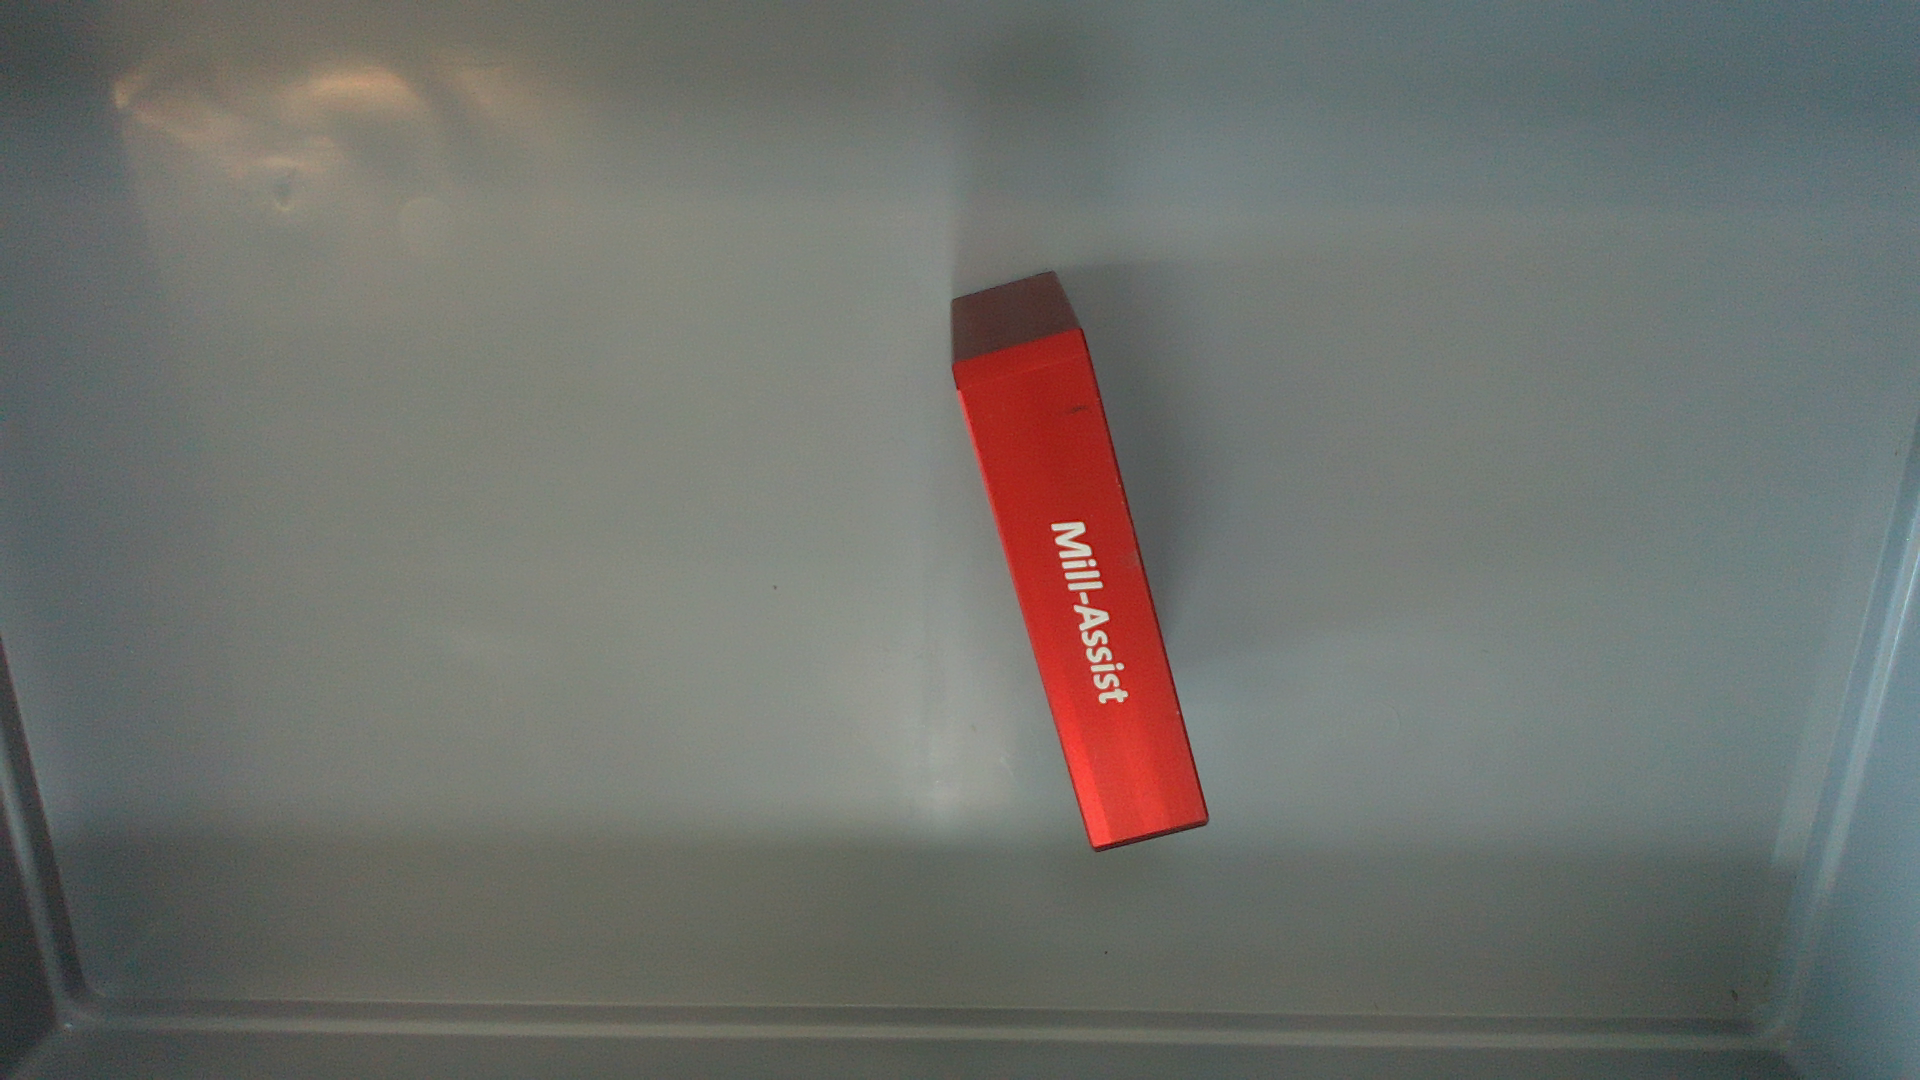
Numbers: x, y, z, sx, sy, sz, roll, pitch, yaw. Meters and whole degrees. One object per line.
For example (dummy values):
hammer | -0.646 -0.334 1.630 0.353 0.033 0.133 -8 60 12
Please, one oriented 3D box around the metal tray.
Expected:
metal tray | 0.030 0.003 0.358 0.030 0.090 0.130 -15 110 5
